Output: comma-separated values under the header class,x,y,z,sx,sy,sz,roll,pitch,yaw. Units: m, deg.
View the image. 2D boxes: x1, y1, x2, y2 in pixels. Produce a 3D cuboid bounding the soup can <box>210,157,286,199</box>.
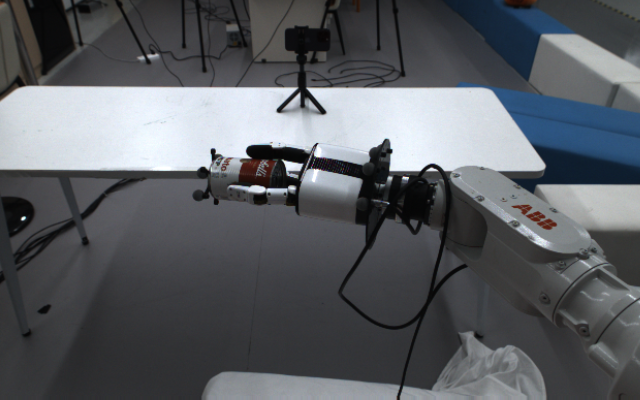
class,x,y,z,sx,sy,sz,roll,pitch,yaw
soup can,-0.108,-0.029,0.732,0.101,0.067,0.067,5,34,14
